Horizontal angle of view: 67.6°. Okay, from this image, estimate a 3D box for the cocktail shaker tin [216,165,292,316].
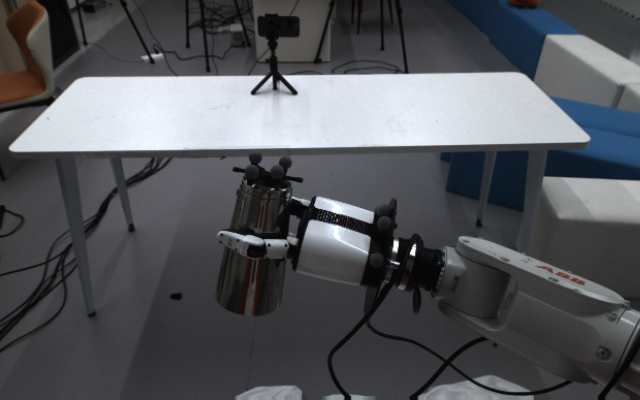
[{"bbox_3d":[-0.081,0.055,0.639,0.093,0.170,0.093,10,19,-4],"label":"cocktail shaker tin"}]
